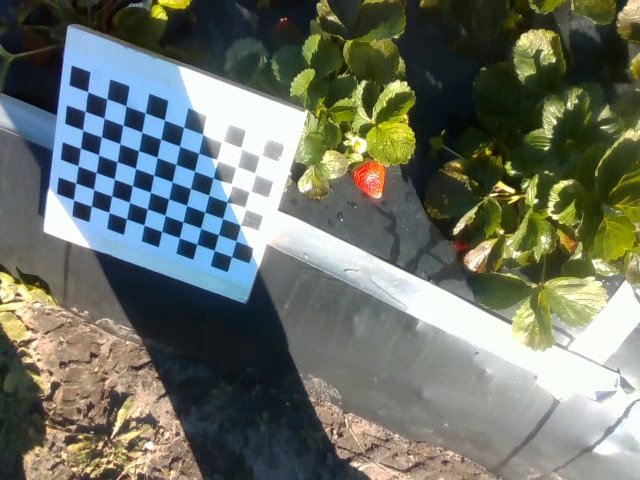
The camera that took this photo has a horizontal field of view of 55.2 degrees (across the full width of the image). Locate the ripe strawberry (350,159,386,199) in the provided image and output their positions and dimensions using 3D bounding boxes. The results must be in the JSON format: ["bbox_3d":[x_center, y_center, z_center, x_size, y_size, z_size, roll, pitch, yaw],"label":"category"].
[{"bbox_3d":[0.063,-0.075,0.772,0.048,0.055,0.030,-22,18,20],"label":"ripe strawberry"}]
